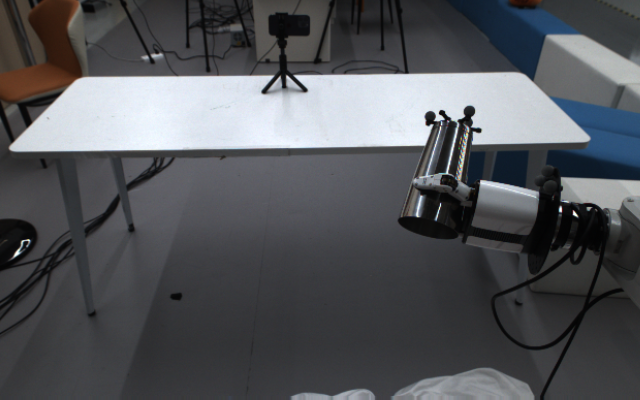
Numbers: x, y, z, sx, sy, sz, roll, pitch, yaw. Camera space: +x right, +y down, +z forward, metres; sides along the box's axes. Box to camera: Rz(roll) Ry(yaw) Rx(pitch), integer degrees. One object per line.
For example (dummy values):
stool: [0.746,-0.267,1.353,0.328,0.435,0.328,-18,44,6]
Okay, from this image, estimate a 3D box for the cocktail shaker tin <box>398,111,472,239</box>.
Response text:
cocktail shaker tin: [0.186,-0.034,0.753,0.093,0.093,0.170,14,73,16]
